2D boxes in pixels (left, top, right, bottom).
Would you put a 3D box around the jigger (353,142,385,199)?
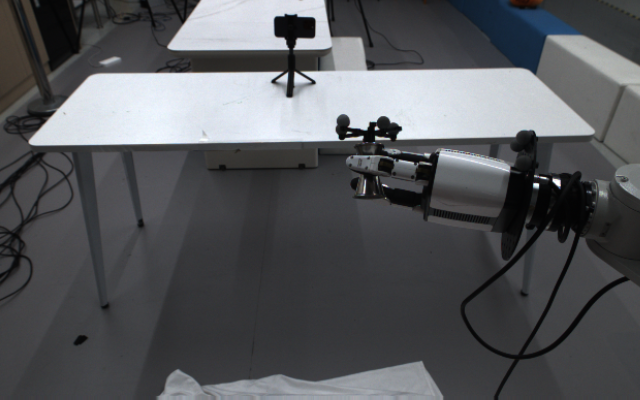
[{"bbox_3d":[0.063,-0.038,0.626,0.043,0.071,0.043,1,-5,0],"label":"jigger"}]
